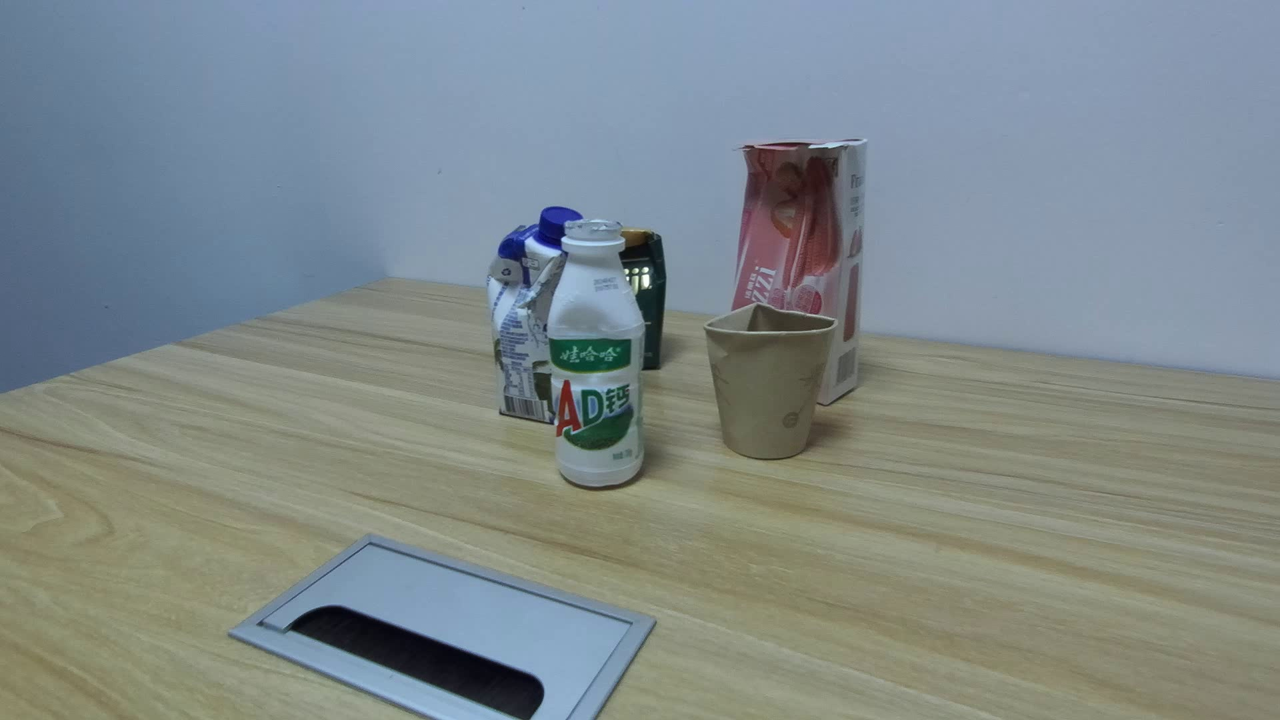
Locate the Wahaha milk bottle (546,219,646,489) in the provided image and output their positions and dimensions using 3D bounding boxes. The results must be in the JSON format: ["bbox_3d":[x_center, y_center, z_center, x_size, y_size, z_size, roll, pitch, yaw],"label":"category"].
[{"bbox_3d":[-0.023,-0.004,0.400,0.055,0.149,0.055,0,19,0],"label":"Wahaha milk bottle"}]

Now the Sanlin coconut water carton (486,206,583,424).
[{"bbox_3d":[-0.069,-0.032,0.488,0.069,0.144,0.061,8,22,23],"label":"Sanlin coconut water carton"}]

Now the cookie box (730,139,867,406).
[{"bbox_3d":[0.112,-0.068,0.524,0.056,0.184,0.118,-15,24,-35],"label":"cookie box"}]

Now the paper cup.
[{"bbox_3d":[0.079,0.015,0.440,0.071,0.084,0.066,14,24,36],"label":"paper cup"}]
